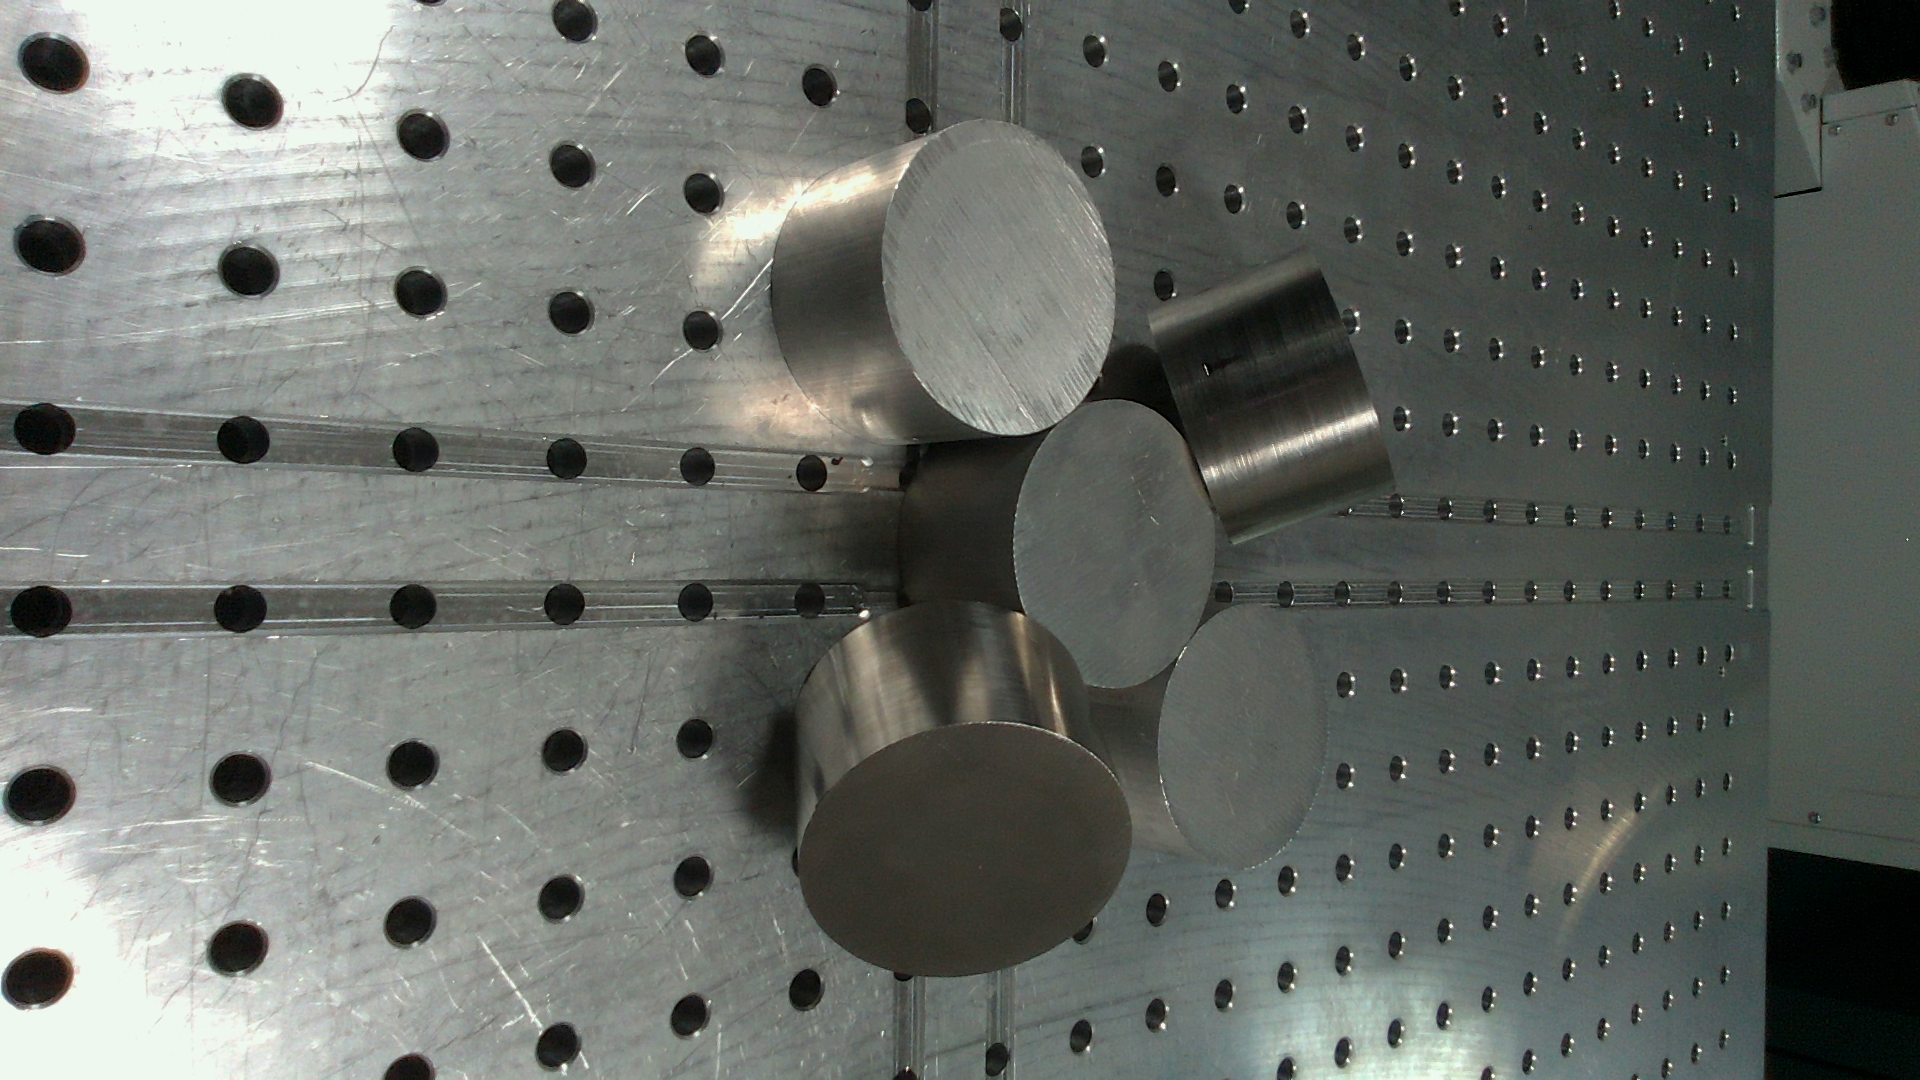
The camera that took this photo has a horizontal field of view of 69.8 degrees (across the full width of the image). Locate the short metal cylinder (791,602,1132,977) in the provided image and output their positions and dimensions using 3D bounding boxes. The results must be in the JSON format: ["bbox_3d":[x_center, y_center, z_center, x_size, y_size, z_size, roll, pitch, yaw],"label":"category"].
[{"bbox_3d":[-0.002,0.063,0.348,0.080,0.050,0.080,-4,121,-7],"label":"short metal cylinder"}]

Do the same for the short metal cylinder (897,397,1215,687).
[{"bbox_3d":[0.029,0.001,0.399,0.080,0.050,0.080,0,90,-40],"label":"short metal cylinder"}]

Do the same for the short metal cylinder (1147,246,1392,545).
[{"bbox_3d":[0.096,-0.044,0.429,0.080,0.050,0.080,-20,90,-78],"label":"short metal cylinder"}]

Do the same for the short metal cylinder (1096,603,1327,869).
[{"bbox_3d":[0.071,0.059,0.435,0.080,0.050,0.080,0,90,-40],"label":"short metal cylinder"}]

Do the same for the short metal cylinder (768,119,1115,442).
[{"bbox_3d":[-0.004,-0.067,0.372,0.080,0.050,0.080,0,90,-40],"label":"short metal cylinder"}]
